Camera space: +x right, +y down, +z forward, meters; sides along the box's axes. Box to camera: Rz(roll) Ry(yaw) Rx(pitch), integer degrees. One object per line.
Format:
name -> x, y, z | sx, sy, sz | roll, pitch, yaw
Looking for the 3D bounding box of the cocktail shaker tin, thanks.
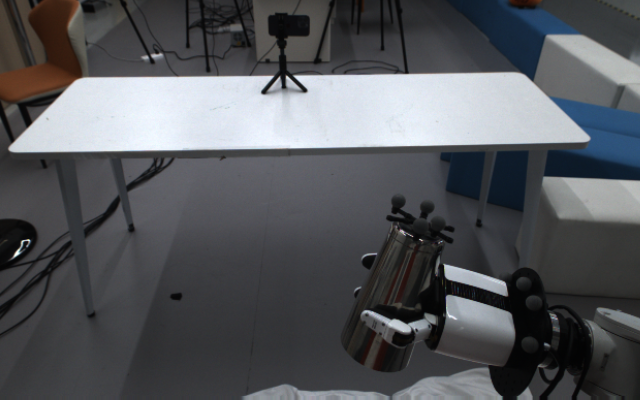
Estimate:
cocktail shaker tin -> 0.095, 0.111, 0.594 | 0.093, 0.170, 0.093 | 14, 20, -5
